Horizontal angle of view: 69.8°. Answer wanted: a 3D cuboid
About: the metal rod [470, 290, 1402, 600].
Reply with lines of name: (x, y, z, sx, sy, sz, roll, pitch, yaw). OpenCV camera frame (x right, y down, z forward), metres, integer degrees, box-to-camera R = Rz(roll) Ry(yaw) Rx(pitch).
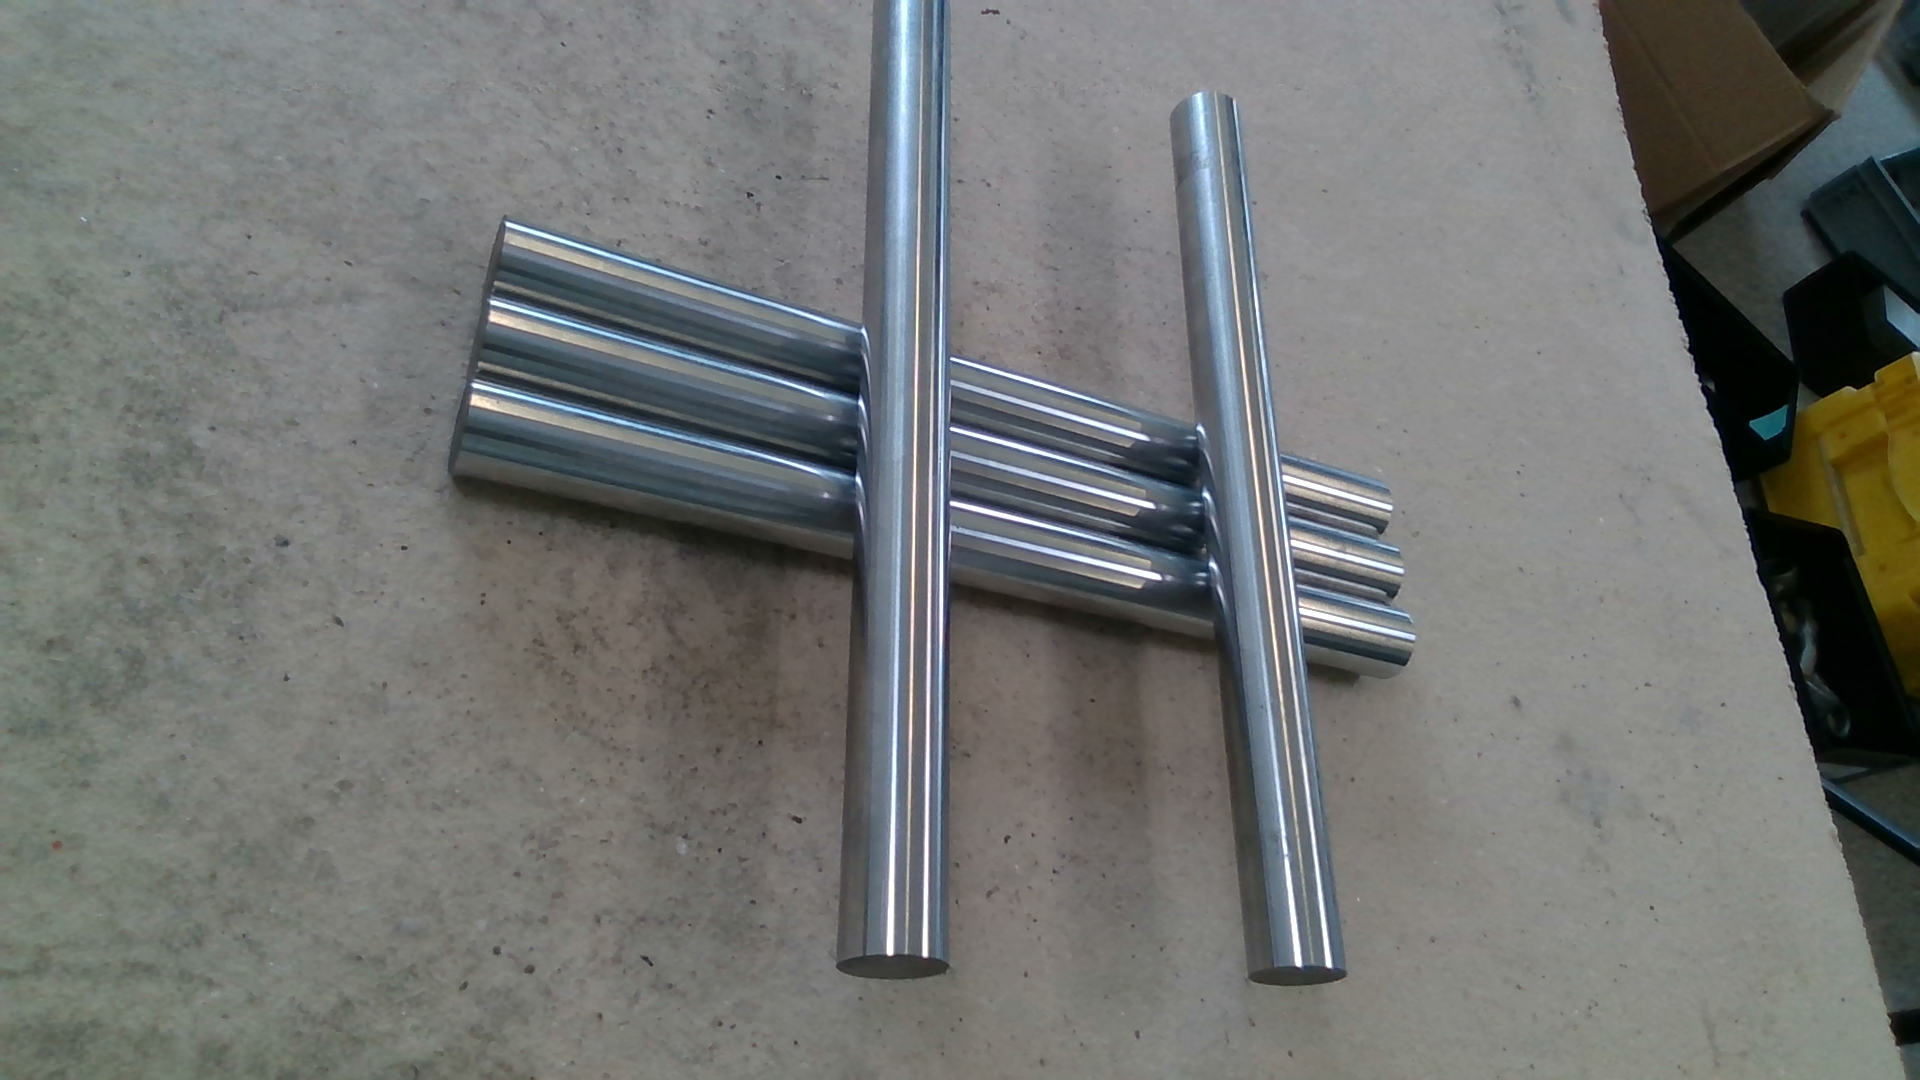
metal rod: (0.011, -0.020, 0.411, 0.300, 0.025, 0.025, 13, 59, -25)

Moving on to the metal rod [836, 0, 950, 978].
metal rod: (-0.015, -0.038, 0.372, 0.025, 0.025, 0.299, 14, 59, -25)

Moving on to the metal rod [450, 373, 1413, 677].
metal rod: (0.011, 0.003, 0.399, 0.300, 0.025, 0.025, 13, 59, -25)

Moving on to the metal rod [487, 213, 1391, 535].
metal rod: (0.011, -0.042, 0.423, 0.300, 0.025, 0.025, 13, 59, -25)

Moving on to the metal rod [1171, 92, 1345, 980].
metal rod: (0.087, -0.020, 0.425, 0.025, 0.025, 0.299, 15, 59, -25)
